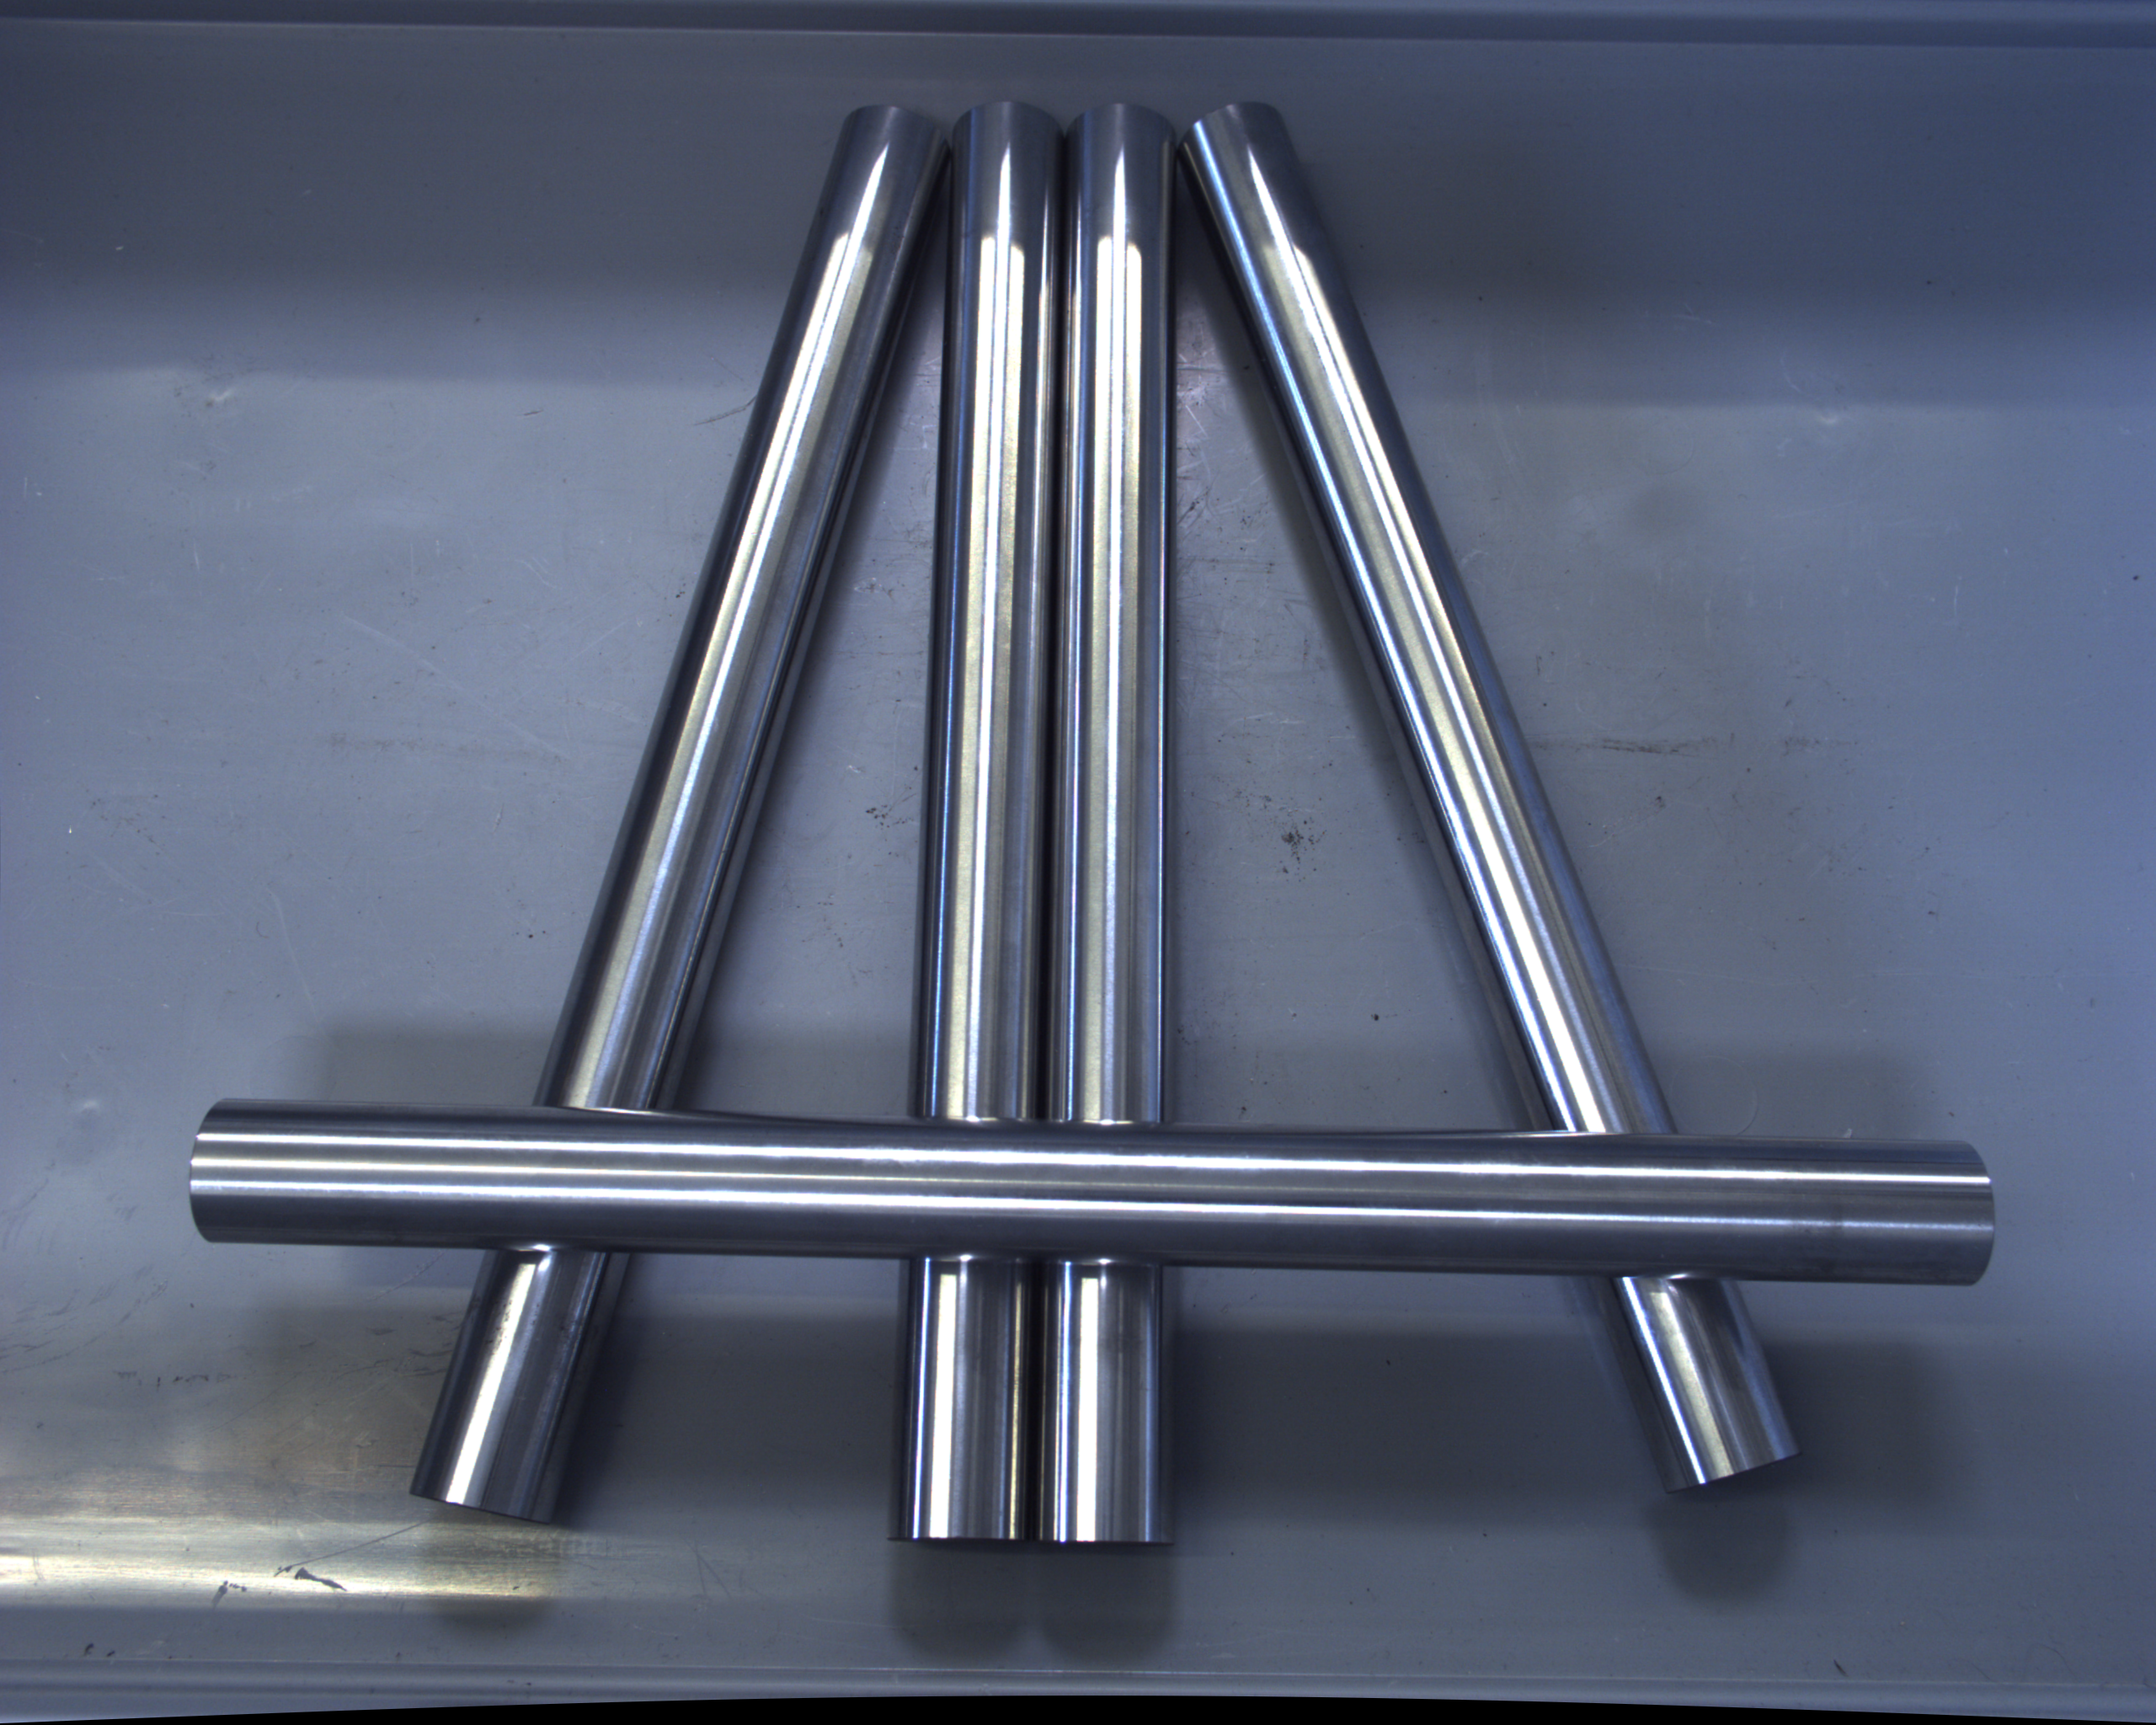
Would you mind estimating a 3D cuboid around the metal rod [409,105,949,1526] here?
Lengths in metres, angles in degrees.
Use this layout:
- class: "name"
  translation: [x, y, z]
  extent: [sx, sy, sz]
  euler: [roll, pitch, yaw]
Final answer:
- class: "metal rod"
  translation: [-0.073, -0.024, 0.416]
  extent: [0.025, 0.025, 0.299]
  euler: [12, 70, 4]

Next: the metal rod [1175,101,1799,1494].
- class: "metal rod"
  translation: [0.074, -0.027, 0.419]
  extent: [0.025, 0.025, 0.299]
  euler: [-15, 71, -5]

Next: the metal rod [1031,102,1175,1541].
- class: "metal rod"
  translation: [0.007, -0.022, 0.416]
  extent: [0.025, 0.025, 0.299]
  euler: [1, 70, 0]

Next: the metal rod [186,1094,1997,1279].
- class: "metal rod"
  translation: [0.002, 0.056, 0.360]
  extent: [0.302, 0.025, 0.025]
  euler: [1, 70, 0]

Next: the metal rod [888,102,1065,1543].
- class: "metal rod"
  translation: [-0.018, -0.022, 0.416]
  extent: [0.025, 0.025, 0.299]
  euler: [1, 70, 0]
